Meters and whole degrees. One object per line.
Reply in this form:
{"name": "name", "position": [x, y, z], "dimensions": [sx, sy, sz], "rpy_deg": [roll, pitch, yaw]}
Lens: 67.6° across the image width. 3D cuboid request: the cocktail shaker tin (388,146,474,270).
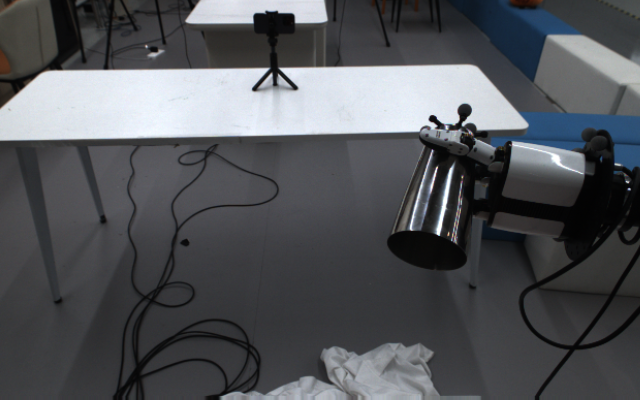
{"name": "cocktail shaker tin", "position": [0.149, -0.013, 0.599], "dimensions": [0.093, 0.093, 0.170], "rpy_deg": [13, 59, 16]}
